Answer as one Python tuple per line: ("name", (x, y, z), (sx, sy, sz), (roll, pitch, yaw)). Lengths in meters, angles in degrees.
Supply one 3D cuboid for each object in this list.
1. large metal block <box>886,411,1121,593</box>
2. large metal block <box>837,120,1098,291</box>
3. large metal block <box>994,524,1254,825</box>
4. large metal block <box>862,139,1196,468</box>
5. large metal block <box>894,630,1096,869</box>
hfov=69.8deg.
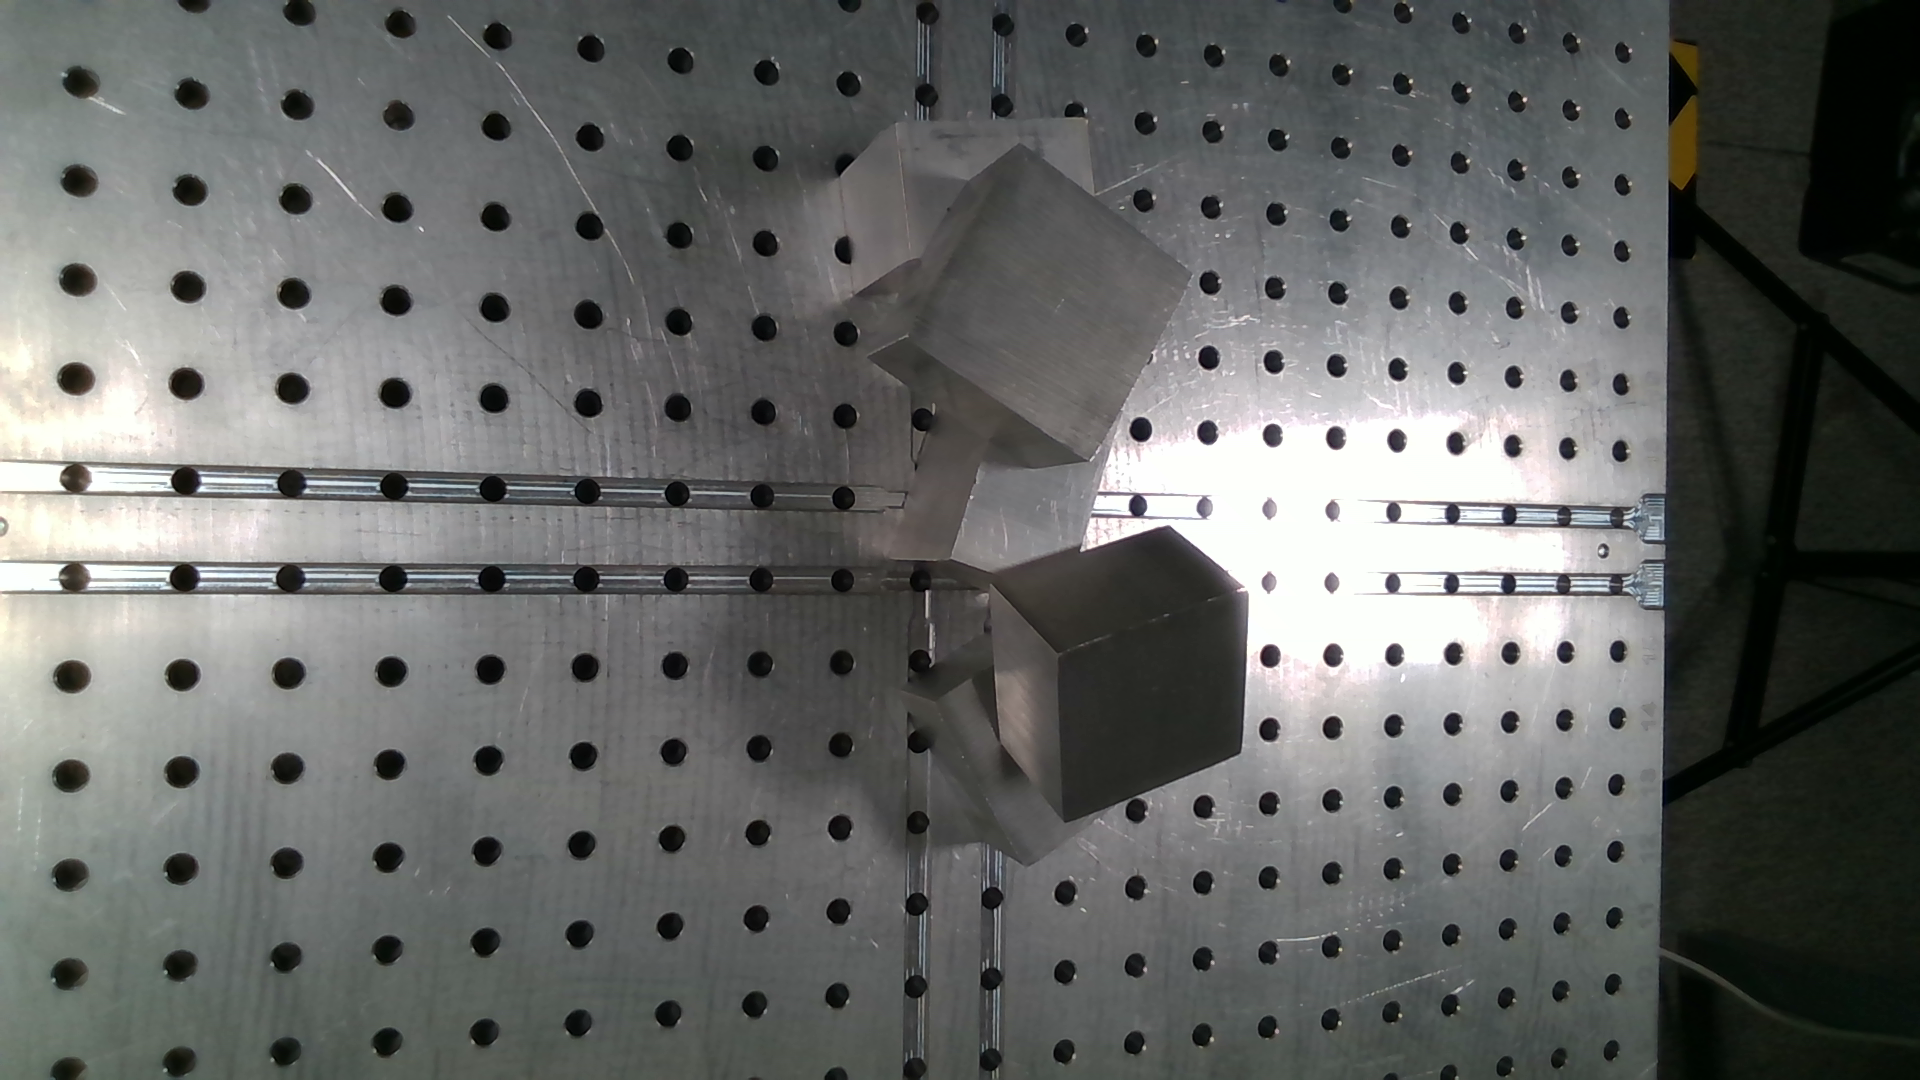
("large metal block", (0.016, -0.022, 0.564), (0.050, 0.080, 0.080), (20, 83, -19))
("large metal block", (0.002, -0.134, 0.559), (0.080, 0.080, 0.050), (-7, 92, -20))
("large metal block", (0.062, 0.050, 0.525), (0.080, 0.050, 0.080), (-17, 125, -19))
("large metal block", (0.025, -0.081, 0.497), (0.080, 0.050, 0.080), (33, 79, -17))
("large metal block", (0.032, 0.079, 0.587), (0.080, 0.050, 0.080), (-32, 101, -17))
